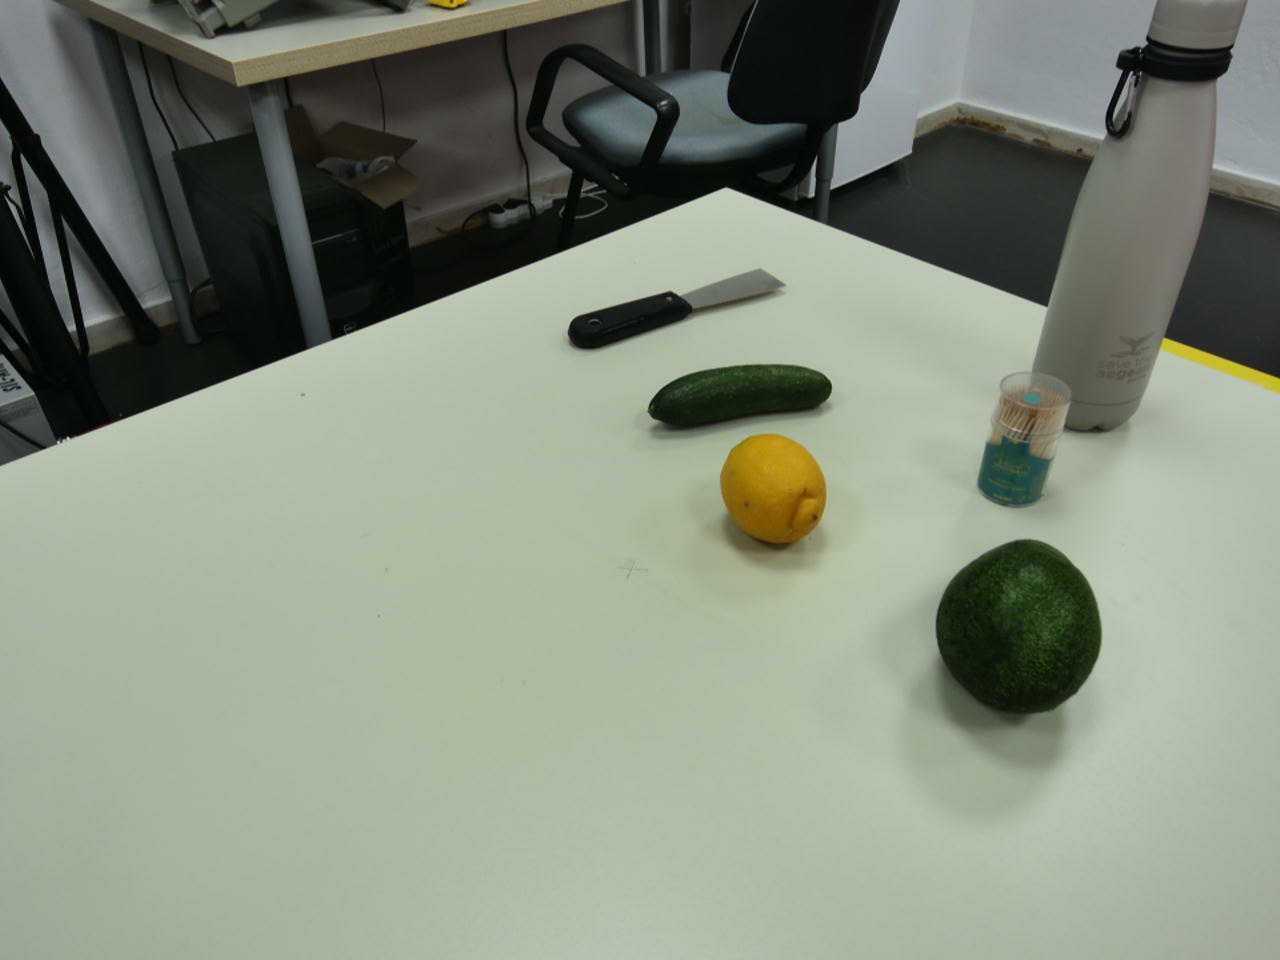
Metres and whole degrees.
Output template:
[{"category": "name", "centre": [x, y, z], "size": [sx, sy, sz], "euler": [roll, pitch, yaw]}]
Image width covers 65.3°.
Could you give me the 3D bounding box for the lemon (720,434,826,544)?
[{"category": "lemon", "centre": [0.077, 0.006, 0.585], "size": [0.061, 0.059, 0.066], "euler": [0, 36, 1]}]
